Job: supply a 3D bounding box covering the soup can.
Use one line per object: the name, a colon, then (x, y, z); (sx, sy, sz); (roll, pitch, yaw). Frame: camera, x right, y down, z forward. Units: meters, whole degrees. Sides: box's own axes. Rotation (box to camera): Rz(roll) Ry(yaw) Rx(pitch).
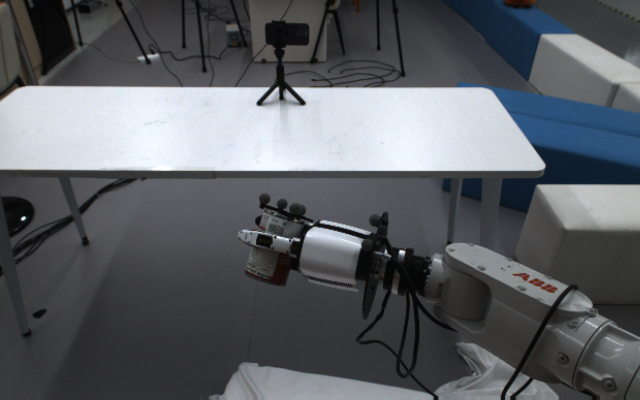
soup can: (-0.068, 0.073, 0.739); (0.067, 0.101, 0.067); (17, -1, 0)
